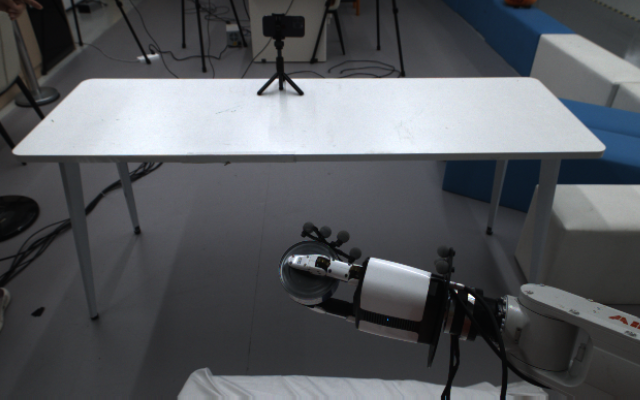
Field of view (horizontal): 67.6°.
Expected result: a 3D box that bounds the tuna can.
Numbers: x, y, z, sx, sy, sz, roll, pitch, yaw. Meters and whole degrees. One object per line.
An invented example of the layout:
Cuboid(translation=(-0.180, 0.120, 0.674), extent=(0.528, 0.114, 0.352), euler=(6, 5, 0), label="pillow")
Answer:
Cuboid(translation=(-0.013, 0.102, 0.679), extent=(0.085, 0.034, 0.085), euler=(-2, 60, 3), label="tuna can")
